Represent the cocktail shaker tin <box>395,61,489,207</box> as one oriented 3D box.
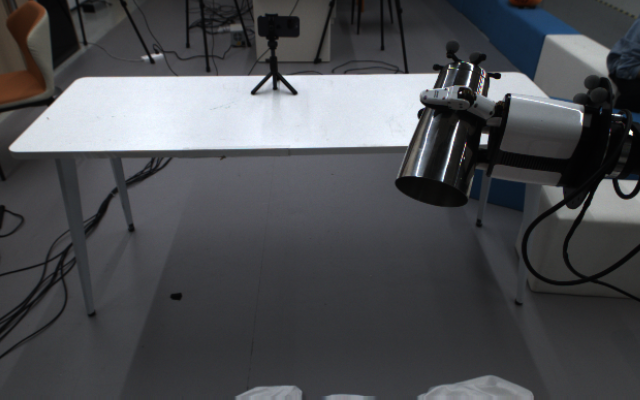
[{"bbox_3d":[0.165,-0.087,0.619,0.093,0.093,0.170,15,75,18],"label":"cocktail shaker tin"}]
